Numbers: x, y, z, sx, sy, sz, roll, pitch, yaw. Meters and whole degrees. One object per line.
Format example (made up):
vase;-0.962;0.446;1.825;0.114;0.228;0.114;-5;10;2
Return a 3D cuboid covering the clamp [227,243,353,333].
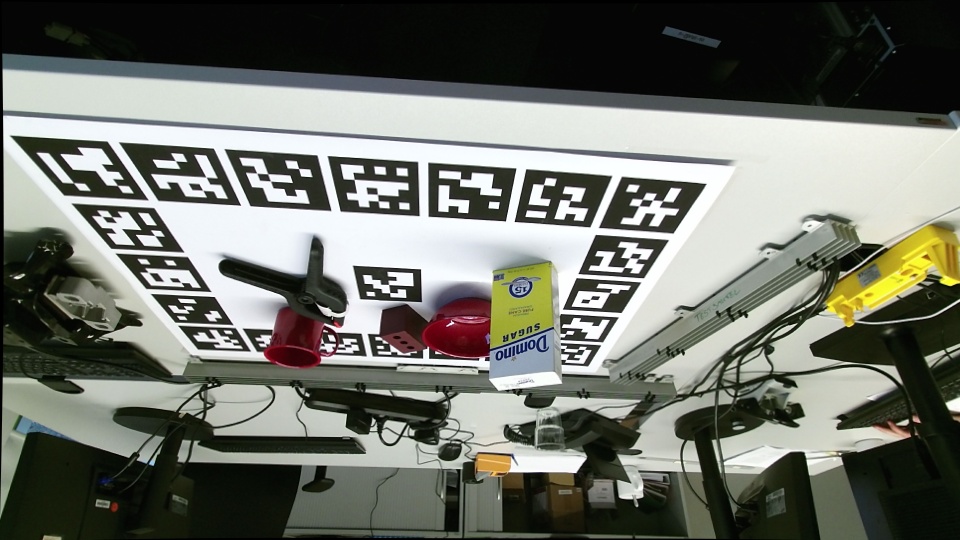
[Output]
clamp;-0.260;0.042;0.831;0.166;0.036;0.203;-13;141;14

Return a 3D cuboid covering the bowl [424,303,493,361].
bowl;-0.011;0.102;0.903;0.162;0.055;0.162;1;143;1

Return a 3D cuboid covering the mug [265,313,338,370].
mug;-0.302;0.131;0.921;0.117;0.081;0.093;22;139;-21

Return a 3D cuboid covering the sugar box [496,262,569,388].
sugar box;0.072;0.075;0.765;0.093;0.175;0.045;-12;140;18

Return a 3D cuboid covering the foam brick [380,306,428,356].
foam brick;-0.130;0.106;0.923;0.053;0.051;0.078;-15;140;18
